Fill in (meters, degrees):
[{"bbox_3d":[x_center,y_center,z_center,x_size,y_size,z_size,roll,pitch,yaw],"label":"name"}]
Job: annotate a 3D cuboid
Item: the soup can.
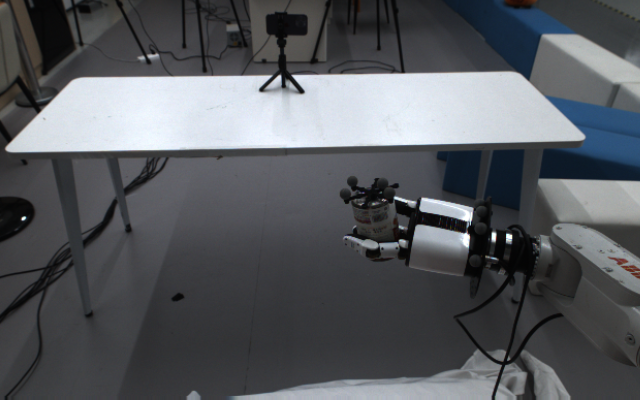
[{"bbox_3d":[0.092,0.037,0.763,0.067,0.101,0.067,-11,28,6],"label":"soup can"}]
